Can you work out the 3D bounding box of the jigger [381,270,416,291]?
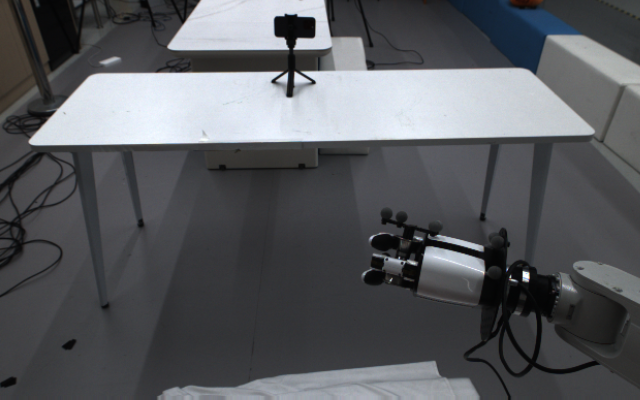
[{"bbox_3d":[0.122,0.088,0.706,0.043,0.071,0.043,14,1,0],"label":"jigger"}]
